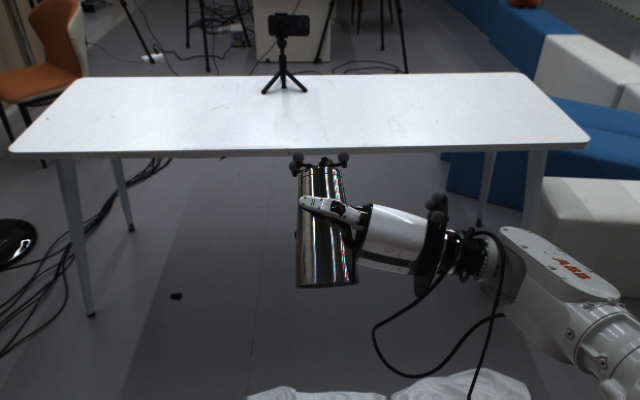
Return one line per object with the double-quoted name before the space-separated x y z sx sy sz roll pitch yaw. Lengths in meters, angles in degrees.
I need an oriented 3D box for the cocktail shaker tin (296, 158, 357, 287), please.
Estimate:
"cocktail shaker tin" 0.006 0.041 0.718 0.093 0.093 0.170 -3 76 -8
